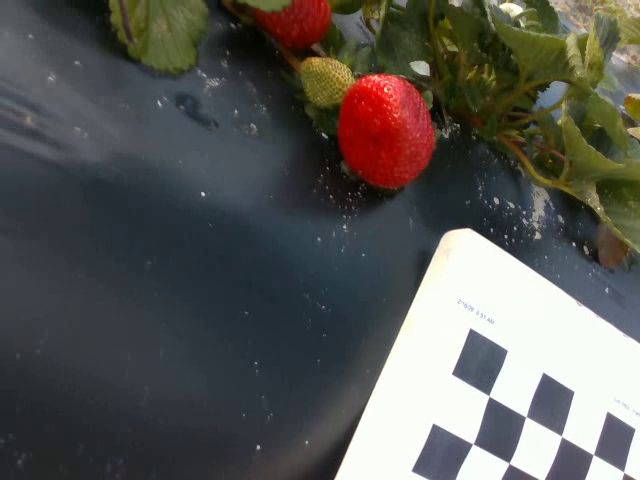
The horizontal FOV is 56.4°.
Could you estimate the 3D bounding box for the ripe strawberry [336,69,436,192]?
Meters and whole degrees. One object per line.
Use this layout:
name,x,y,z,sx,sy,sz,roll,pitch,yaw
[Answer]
ripe strawberry,0.015,-0.022,0.114,0.022,0.025,0.030,10,-1,5
